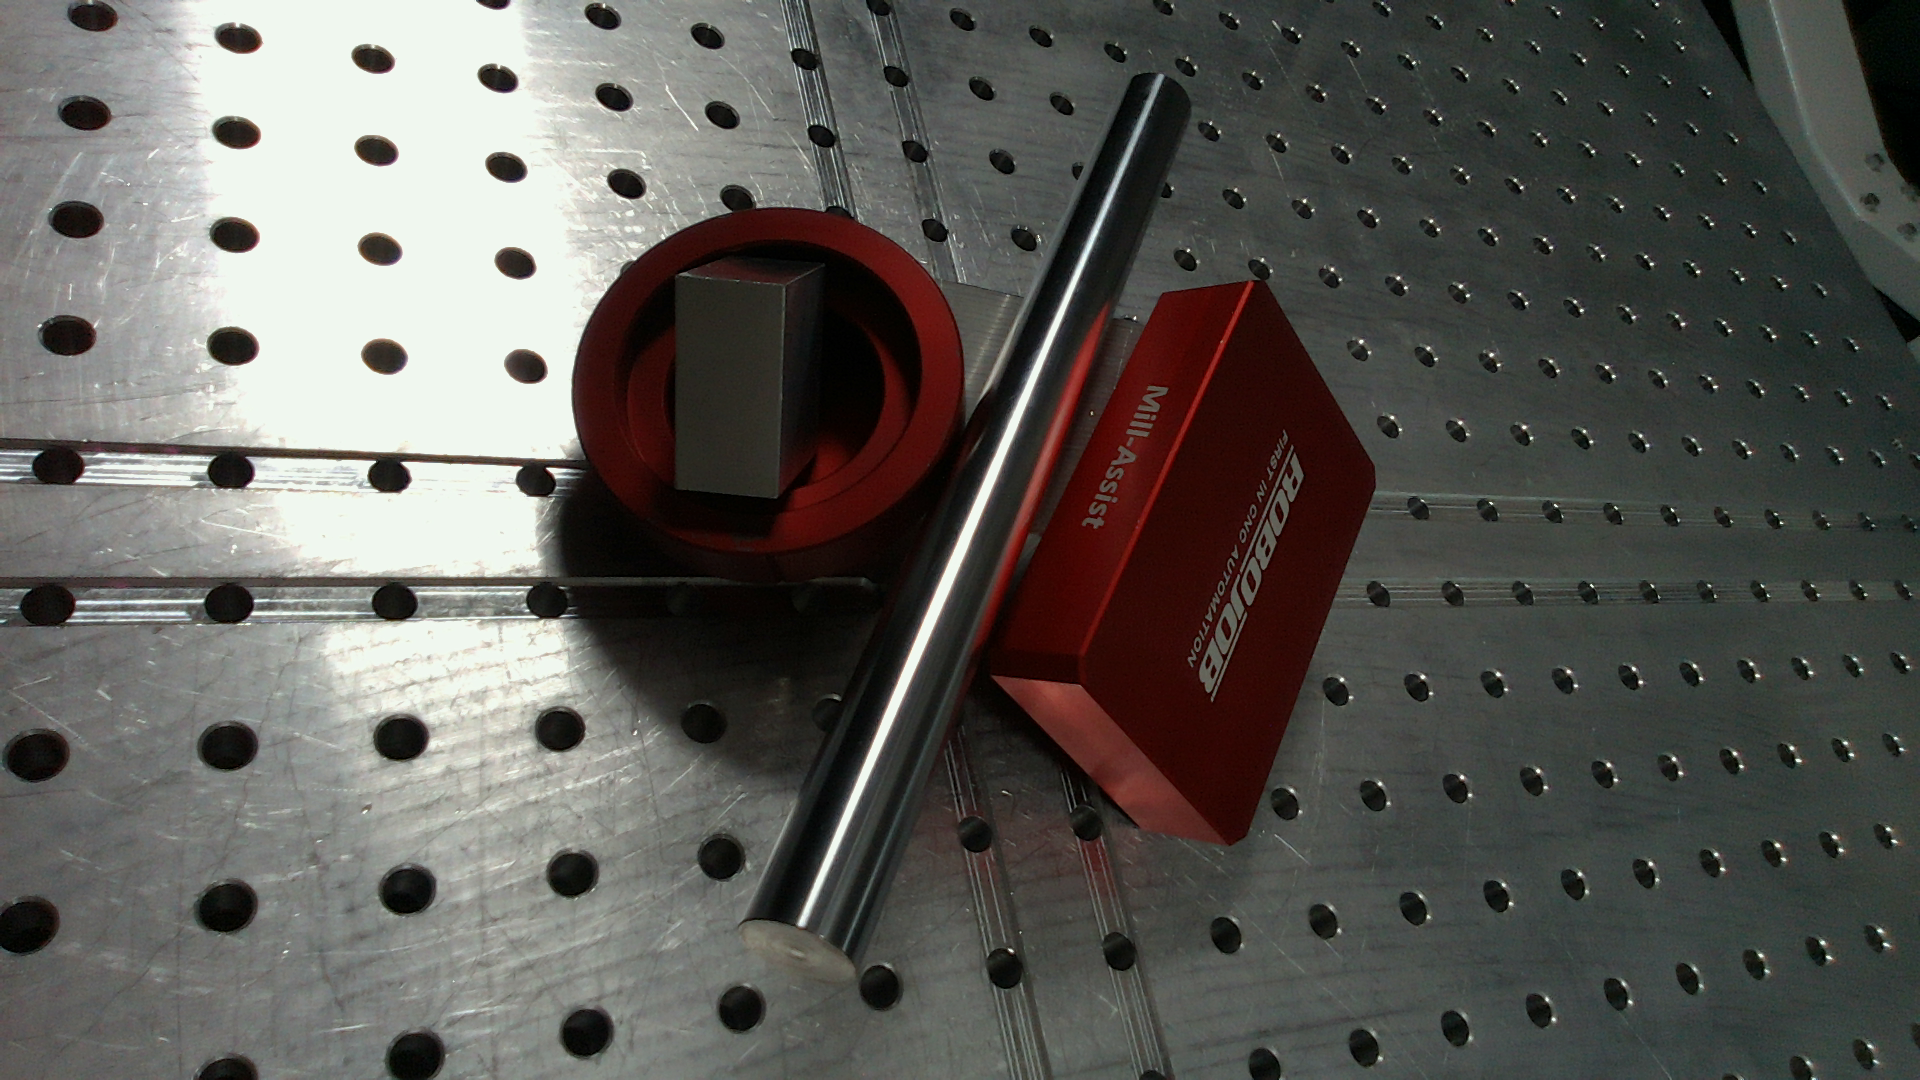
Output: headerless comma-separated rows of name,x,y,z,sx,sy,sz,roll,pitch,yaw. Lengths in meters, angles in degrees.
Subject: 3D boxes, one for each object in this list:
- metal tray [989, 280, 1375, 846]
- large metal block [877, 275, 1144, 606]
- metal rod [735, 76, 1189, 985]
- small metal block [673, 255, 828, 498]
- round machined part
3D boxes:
metal tray,0.067,0.005,0.379,0.090,0.030,0.130,48,58,-36
large metal block,0.021,-0.023,0.401,0.080,0.050,0.080,9,58,-24
metal rod,0.015,-0.030,0.355,0.025,0.025,0.301,30,52,-9
small metal block,-0.051,-0.042,0.339,0.025,0.050,0.050,5,17,5
round machined part,-0.047,-0.034,0.360,0.098,0.042,0.098,0,67,-1
